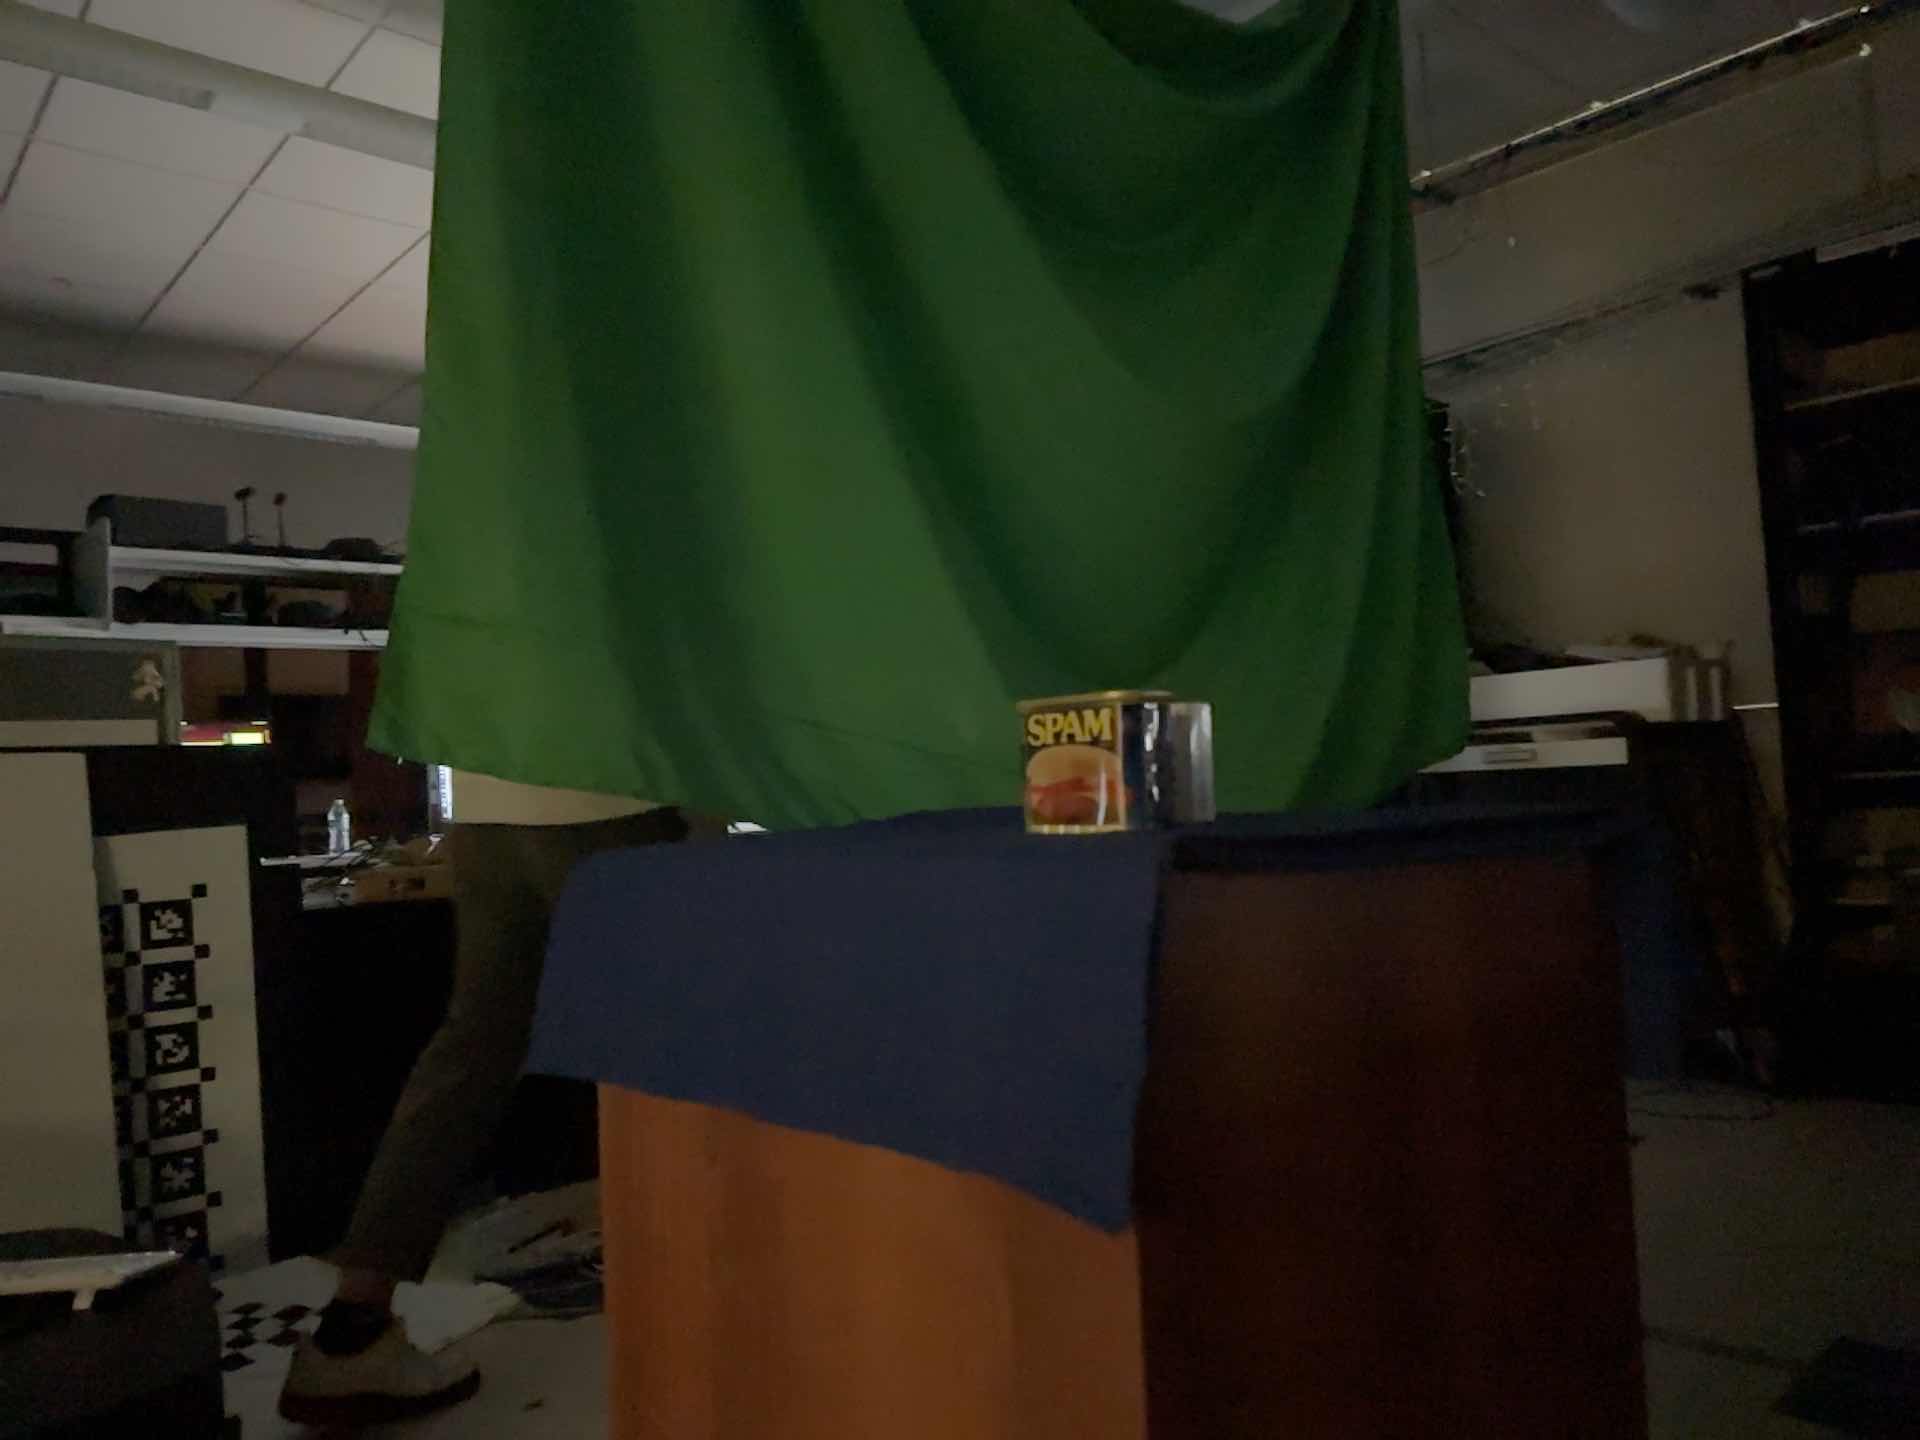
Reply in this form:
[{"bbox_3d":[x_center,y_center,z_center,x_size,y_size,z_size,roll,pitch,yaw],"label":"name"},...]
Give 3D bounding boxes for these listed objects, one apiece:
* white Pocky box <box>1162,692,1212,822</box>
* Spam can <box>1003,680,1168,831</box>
[{"bbox_3d":[0.111,0.027,0.916,0.028,0.084,0.154,1,-3,-31],"label":"white Pocky box"},{"bbox_3d":[0.073,0.021,0.796,0.056,0.083,0.100,1,-2,-40],"label":"Spam can"}]
